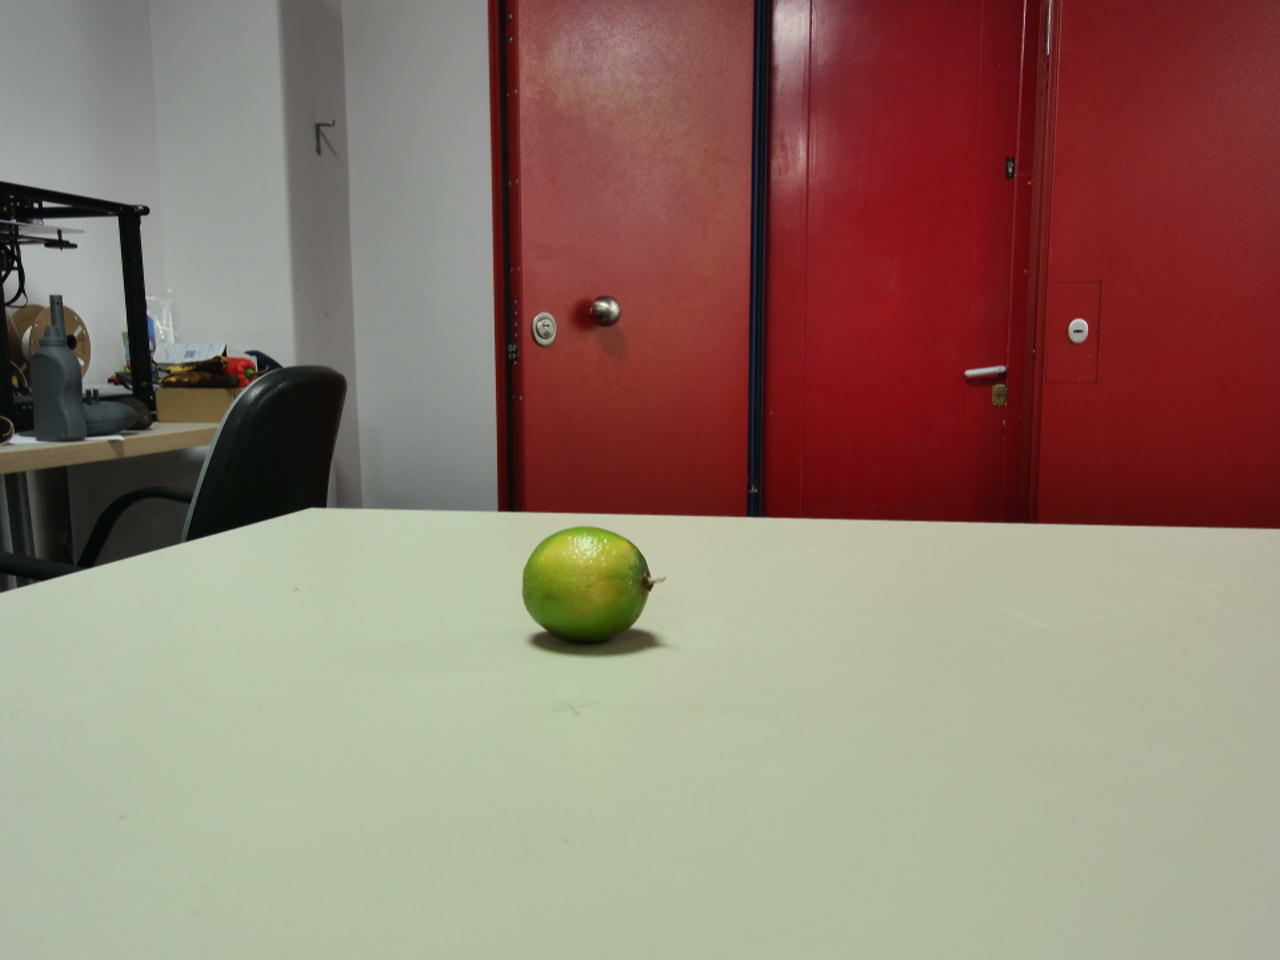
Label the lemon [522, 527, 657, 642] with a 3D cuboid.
[{"bbox_3d":[-0.024,0.046,0.447,0.054,0.050,0.055,-4,5,-28],"label":"lemon"}]
